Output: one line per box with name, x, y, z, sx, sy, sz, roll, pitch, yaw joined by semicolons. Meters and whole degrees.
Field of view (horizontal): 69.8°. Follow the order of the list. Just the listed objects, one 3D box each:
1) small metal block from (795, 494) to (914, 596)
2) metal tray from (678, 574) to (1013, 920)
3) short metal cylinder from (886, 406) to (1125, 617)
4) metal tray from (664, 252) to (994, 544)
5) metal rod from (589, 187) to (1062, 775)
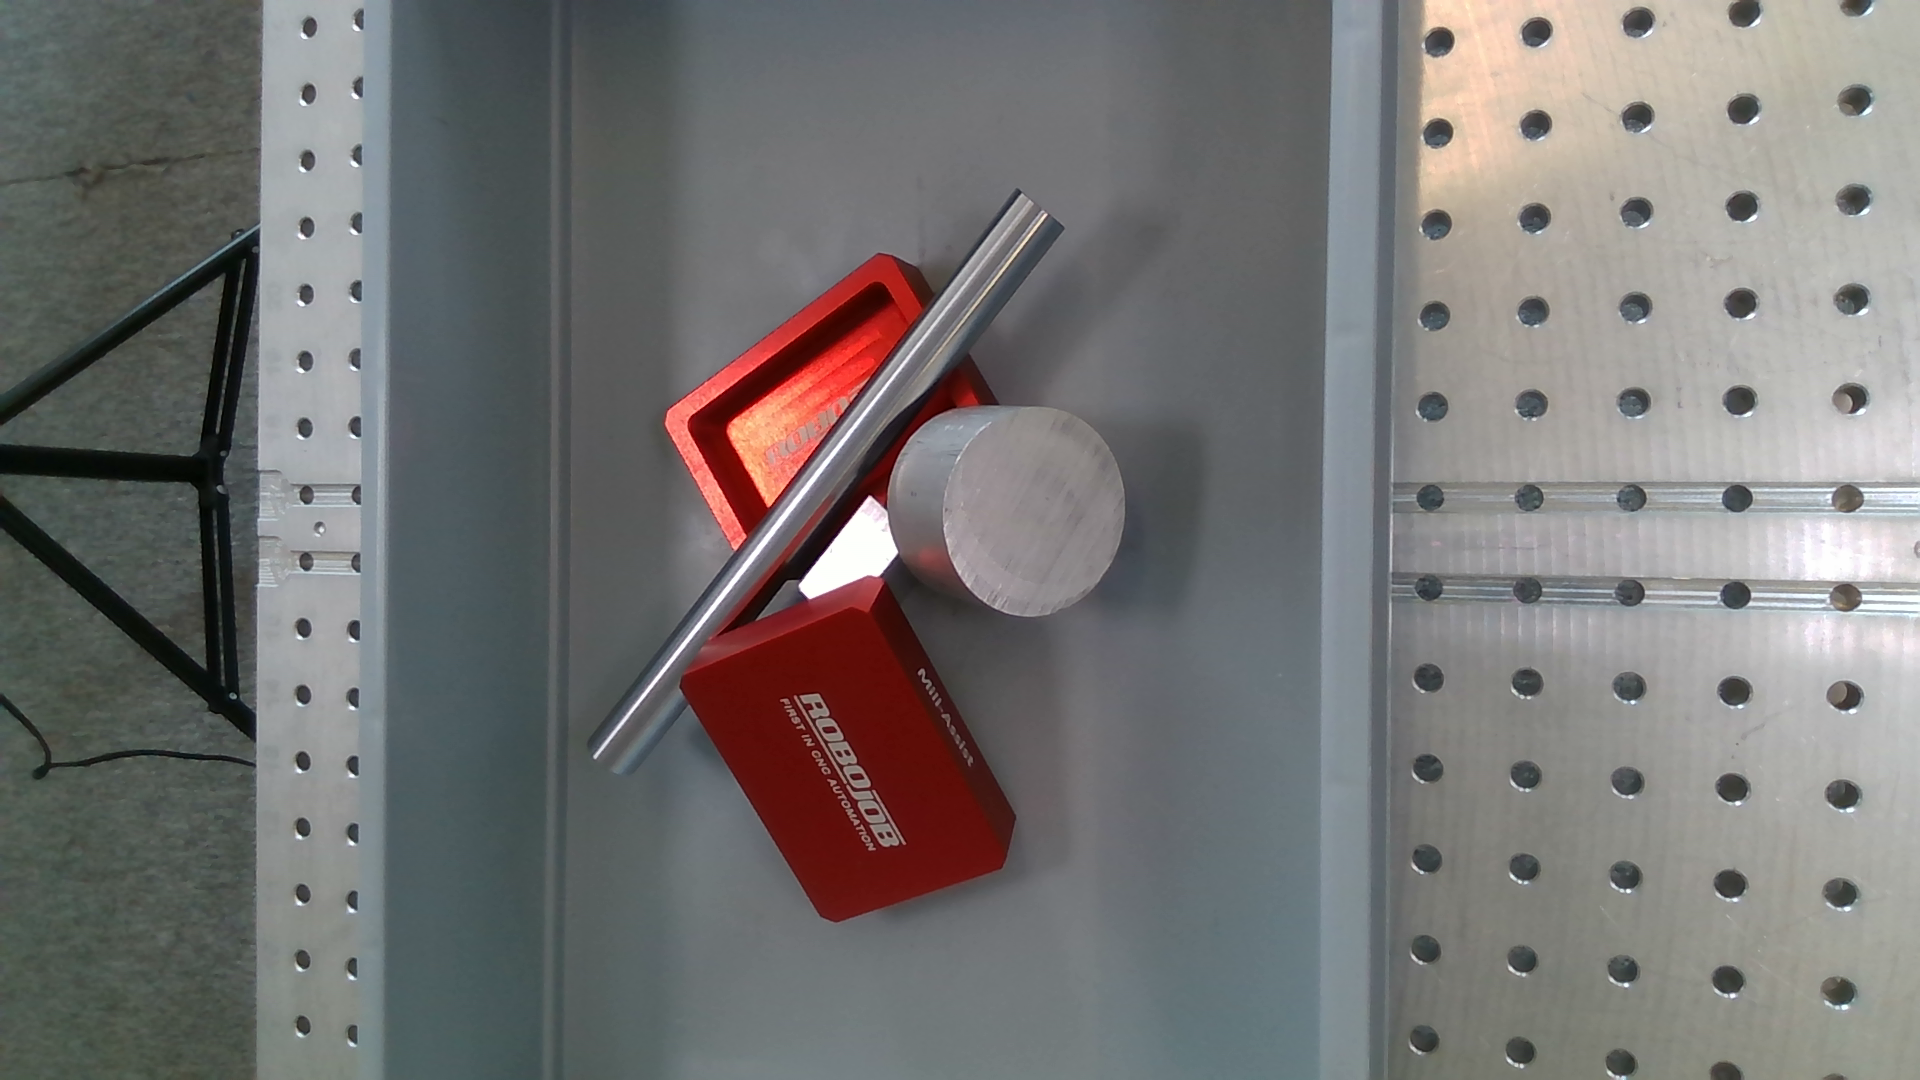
small metal block;-0.036;0.008;0.584;0.025;0.050;0.050;43;104;15
metal tray;-0.045;0.088;0.572;0.090;0.030;0.130;-22;107;19
short metal cylinder;0.018;-0.013;0.542;0.050;0.080;0.080;14;97;62
metal tray;-0.056;-0.051;0.602;0.130;0.030;0.090;-33;79;17
metal rod;-0.061;-0.018;0.575;0.025;0.025;0.300;43;104;15
